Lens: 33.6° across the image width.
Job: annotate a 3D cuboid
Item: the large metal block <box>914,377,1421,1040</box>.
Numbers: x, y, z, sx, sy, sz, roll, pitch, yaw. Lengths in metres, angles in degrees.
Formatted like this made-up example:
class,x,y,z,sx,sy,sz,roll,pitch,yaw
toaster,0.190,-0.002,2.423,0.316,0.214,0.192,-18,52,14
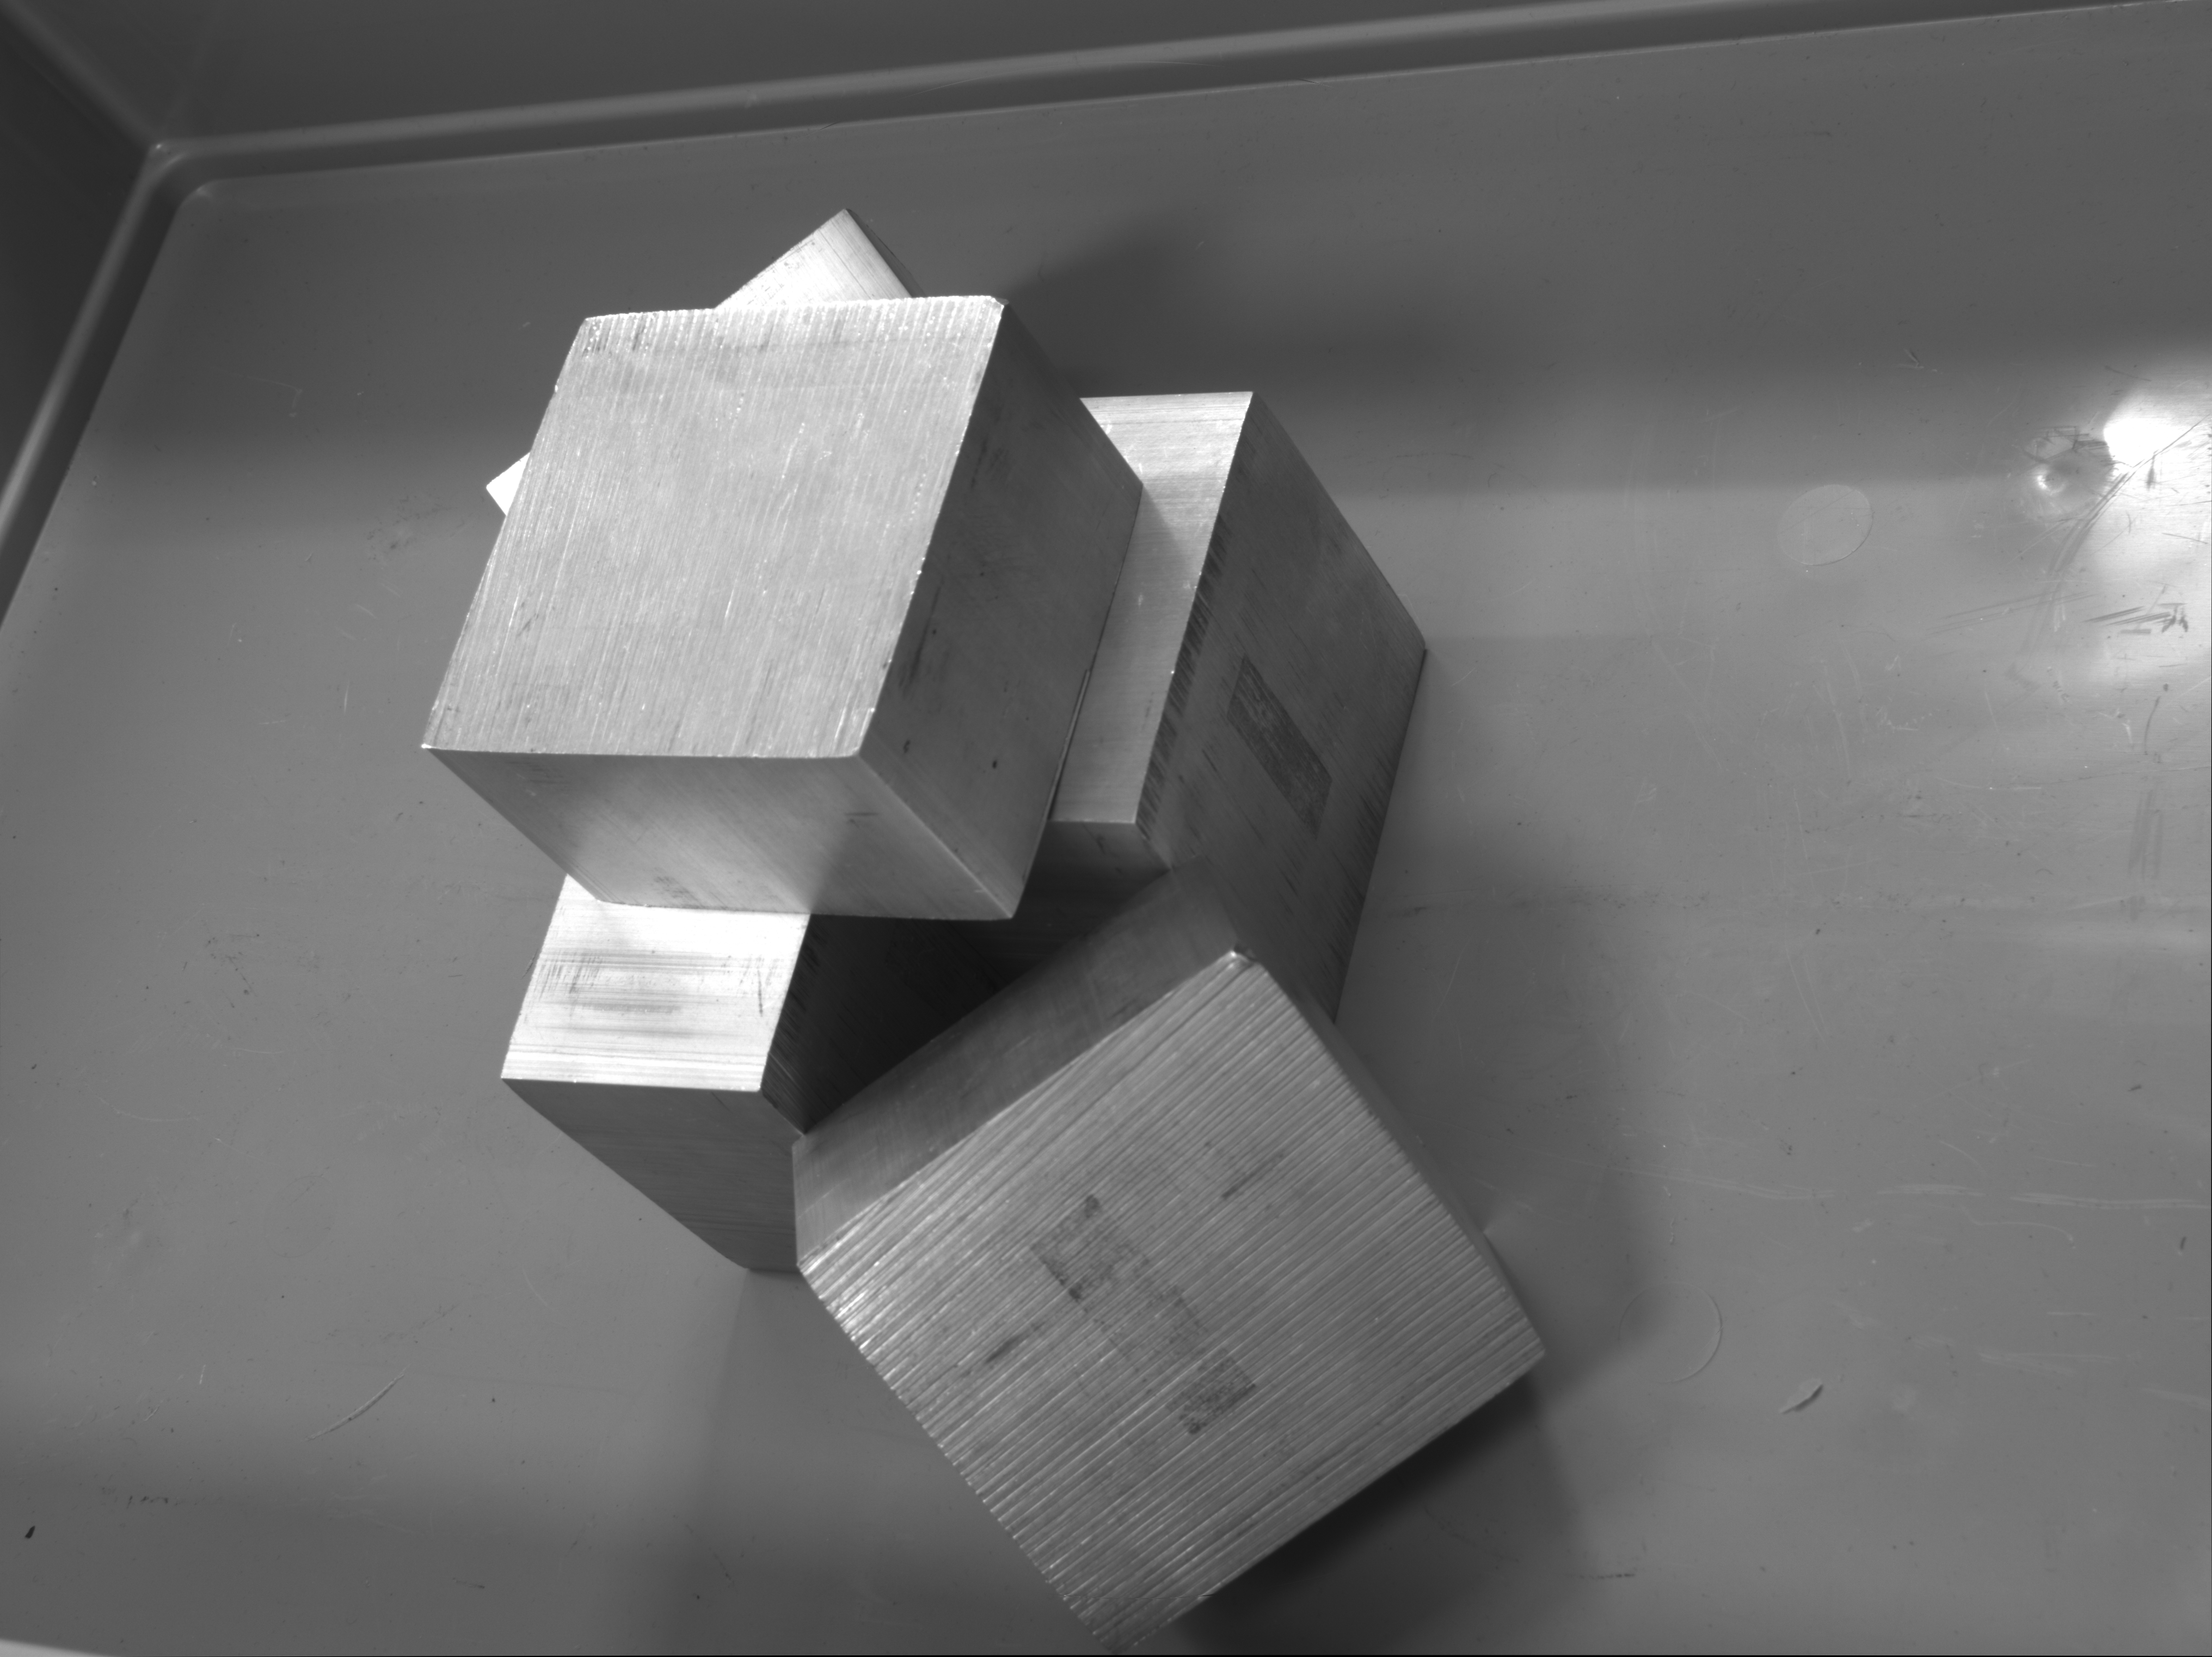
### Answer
class,x,y,z,sx,sy,sz,roll,pitch,yaw
large metal block,0.007,-0.018,0.613,0.050,0.080,0.080,1,62,29

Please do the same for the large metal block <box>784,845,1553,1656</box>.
class,x,y,z,sx,sy,sz,roll,pitch,yaw
large metal block,0.008,0.063,0.555,0.080,0.080,0.050,-36,16,4

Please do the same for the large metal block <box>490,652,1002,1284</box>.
class,x,y,z,sx,sy,sz,roll,pitch,yaw
large metal block,-0.050,0.025,0.619,0.050,0.080,0.080,1,62,29

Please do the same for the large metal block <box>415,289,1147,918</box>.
class,x,y,z,sx,sy,sz,roll,pitch,yaw
large metal block,-0.049,-0.035,0.571,0.080,0.050,0.080,2,62,29

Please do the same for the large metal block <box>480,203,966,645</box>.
class,x,y,z,sx,sy,sz,roll,pitch,yaw
large metal block,-0.057,-0.062,0.667,0.080,0.080,0.050,-37,86,3
